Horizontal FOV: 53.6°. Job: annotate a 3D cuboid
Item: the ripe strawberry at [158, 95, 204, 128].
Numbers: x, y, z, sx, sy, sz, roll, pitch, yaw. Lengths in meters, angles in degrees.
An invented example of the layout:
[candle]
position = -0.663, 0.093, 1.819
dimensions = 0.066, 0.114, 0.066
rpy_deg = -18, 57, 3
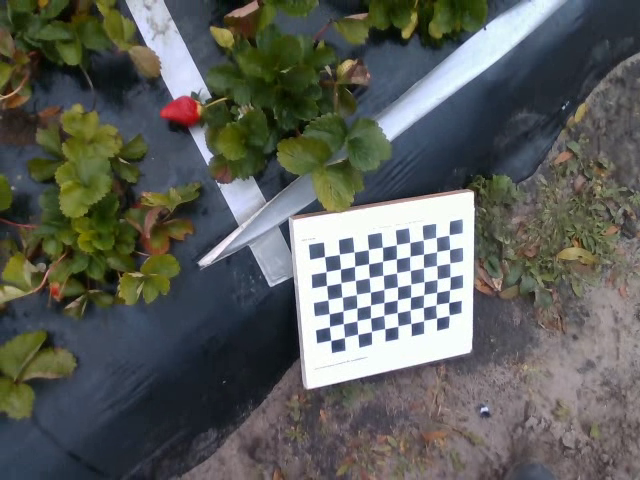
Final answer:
[ripe strawberry]
position = -0.173, -0.159, 0.774
dimensions = 0.051, 0.042, 0.037
rpy_deg = -14, 24, -17
